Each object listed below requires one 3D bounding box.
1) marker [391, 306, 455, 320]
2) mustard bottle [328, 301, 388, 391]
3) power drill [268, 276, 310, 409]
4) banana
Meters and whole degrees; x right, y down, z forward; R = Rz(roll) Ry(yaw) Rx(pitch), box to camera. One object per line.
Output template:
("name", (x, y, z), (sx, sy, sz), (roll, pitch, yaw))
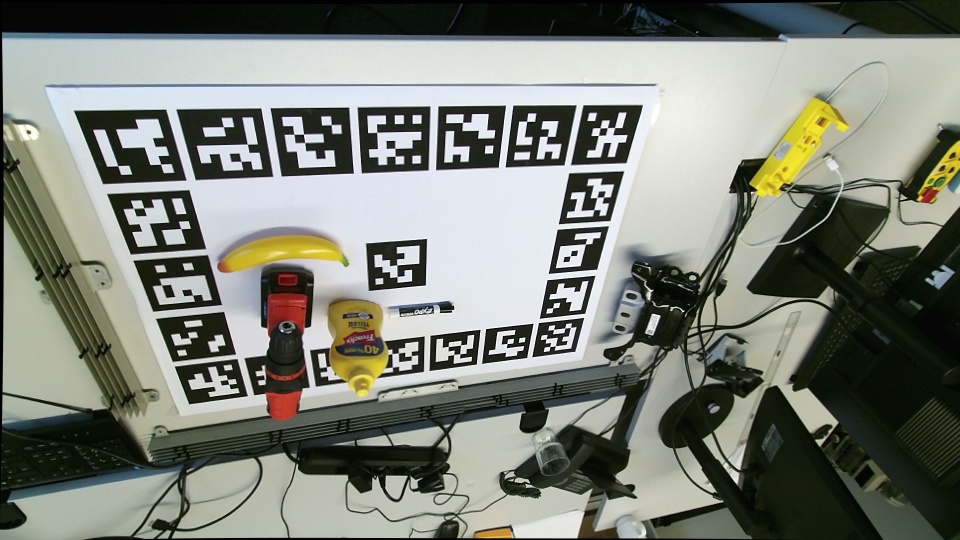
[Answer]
("marker", (-0.107, 0.081, 1.017), (0.121, 0.019, 0.019), (-3, 124, -16))
("mustard bottle", (-0.207, 0.130, 0.912), (0.096, 0.190, 0.058), (5, 122, -20))
("power drill", (-0.300, 0.094, 0.836), (0.057, 0.186, 0.184), (8, 123, -21))
("banana", (-0.307, -0.032, 0.865), (0.198, 0.038, 0.074), (2, 122, -21))
